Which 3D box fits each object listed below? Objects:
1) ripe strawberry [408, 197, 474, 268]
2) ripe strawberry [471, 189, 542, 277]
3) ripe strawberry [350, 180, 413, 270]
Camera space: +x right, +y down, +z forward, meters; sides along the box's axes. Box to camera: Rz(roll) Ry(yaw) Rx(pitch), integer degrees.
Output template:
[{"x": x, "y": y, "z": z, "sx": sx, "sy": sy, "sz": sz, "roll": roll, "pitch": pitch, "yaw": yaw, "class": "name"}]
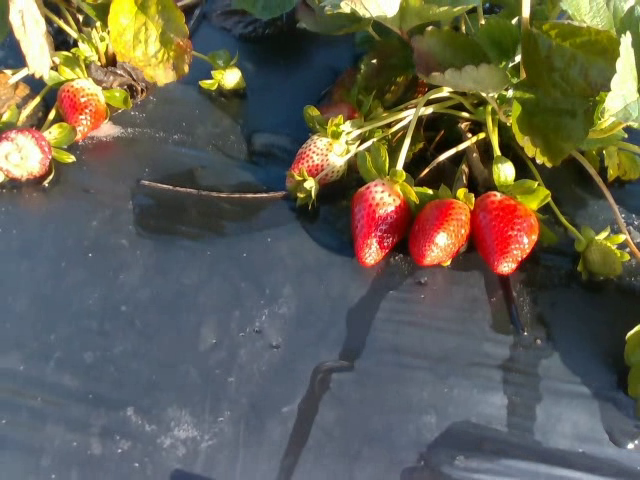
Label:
[{"x": 0.053, "y": -0.004, "z": 0.273, "sx": 0.030, "sy": 0.037, "sz": 0.039, "roll": 23, "pitch": 26, "yaw": 11, "class": "ripe strawberry"}, {"x": 0.081, "y": 0.003, "z": 0.272, "sx": 0.035, "sy": 0.034, "sz": 0.041, "roll": 8, "pitch": 37, "yaw": 11, "class": "ripe strawberry"}, {"x": 0.026, "y": -0.008, "z": 0.285, "sx": 0.031, "sy": 0.046, "sz": 0.023, "roll": 12, "pitch": -16, "yaw": 11, "class": "ripe strawberry"}]
